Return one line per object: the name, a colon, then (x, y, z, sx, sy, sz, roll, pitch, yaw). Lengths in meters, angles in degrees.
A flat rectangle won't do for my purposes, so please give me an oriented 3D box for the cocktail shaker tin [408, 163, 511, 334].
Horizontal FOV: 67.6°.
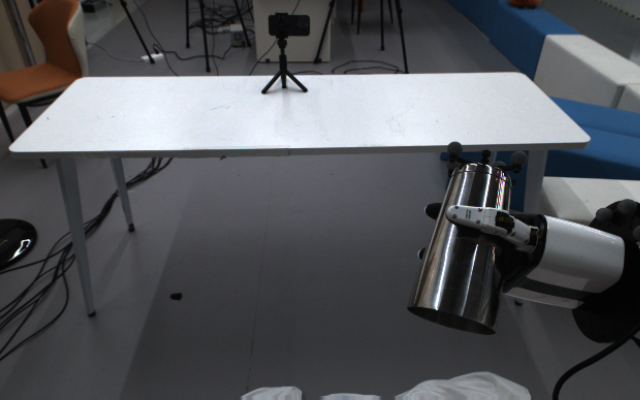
cocktail shaker tin: (0.162, 0.049, 0.528, 0.093, 0.093, 0.170, 13, 70, 15)
